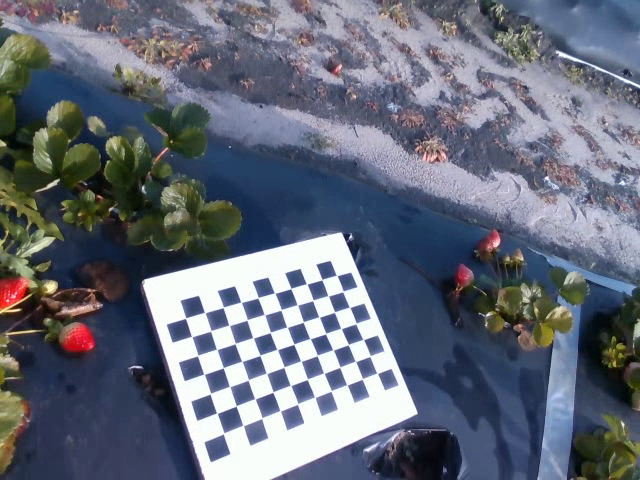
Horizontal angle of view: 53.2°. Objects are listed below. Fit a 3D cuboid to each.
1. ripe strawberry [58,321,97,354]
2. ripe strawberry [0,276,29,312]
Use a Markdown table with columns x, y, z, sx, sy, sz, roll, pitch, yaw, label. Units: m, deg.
| x | y | z | sx | sy | sz | roll | pitch | yaw | label |
| --- | --- | --- | --- | --- | --- | --- | --- | --- | --- |
| -0.266 | 0.108 | 0.696 | 0.043 | 0.035 | 0.030 | 33 | -34 | 0 | ripe strawberry |
| -0.338 | 0.053 | 0.689 | 0.048 | 0.040 | 0.031 | -37 | -10 | 9 | ripe strawberry |
